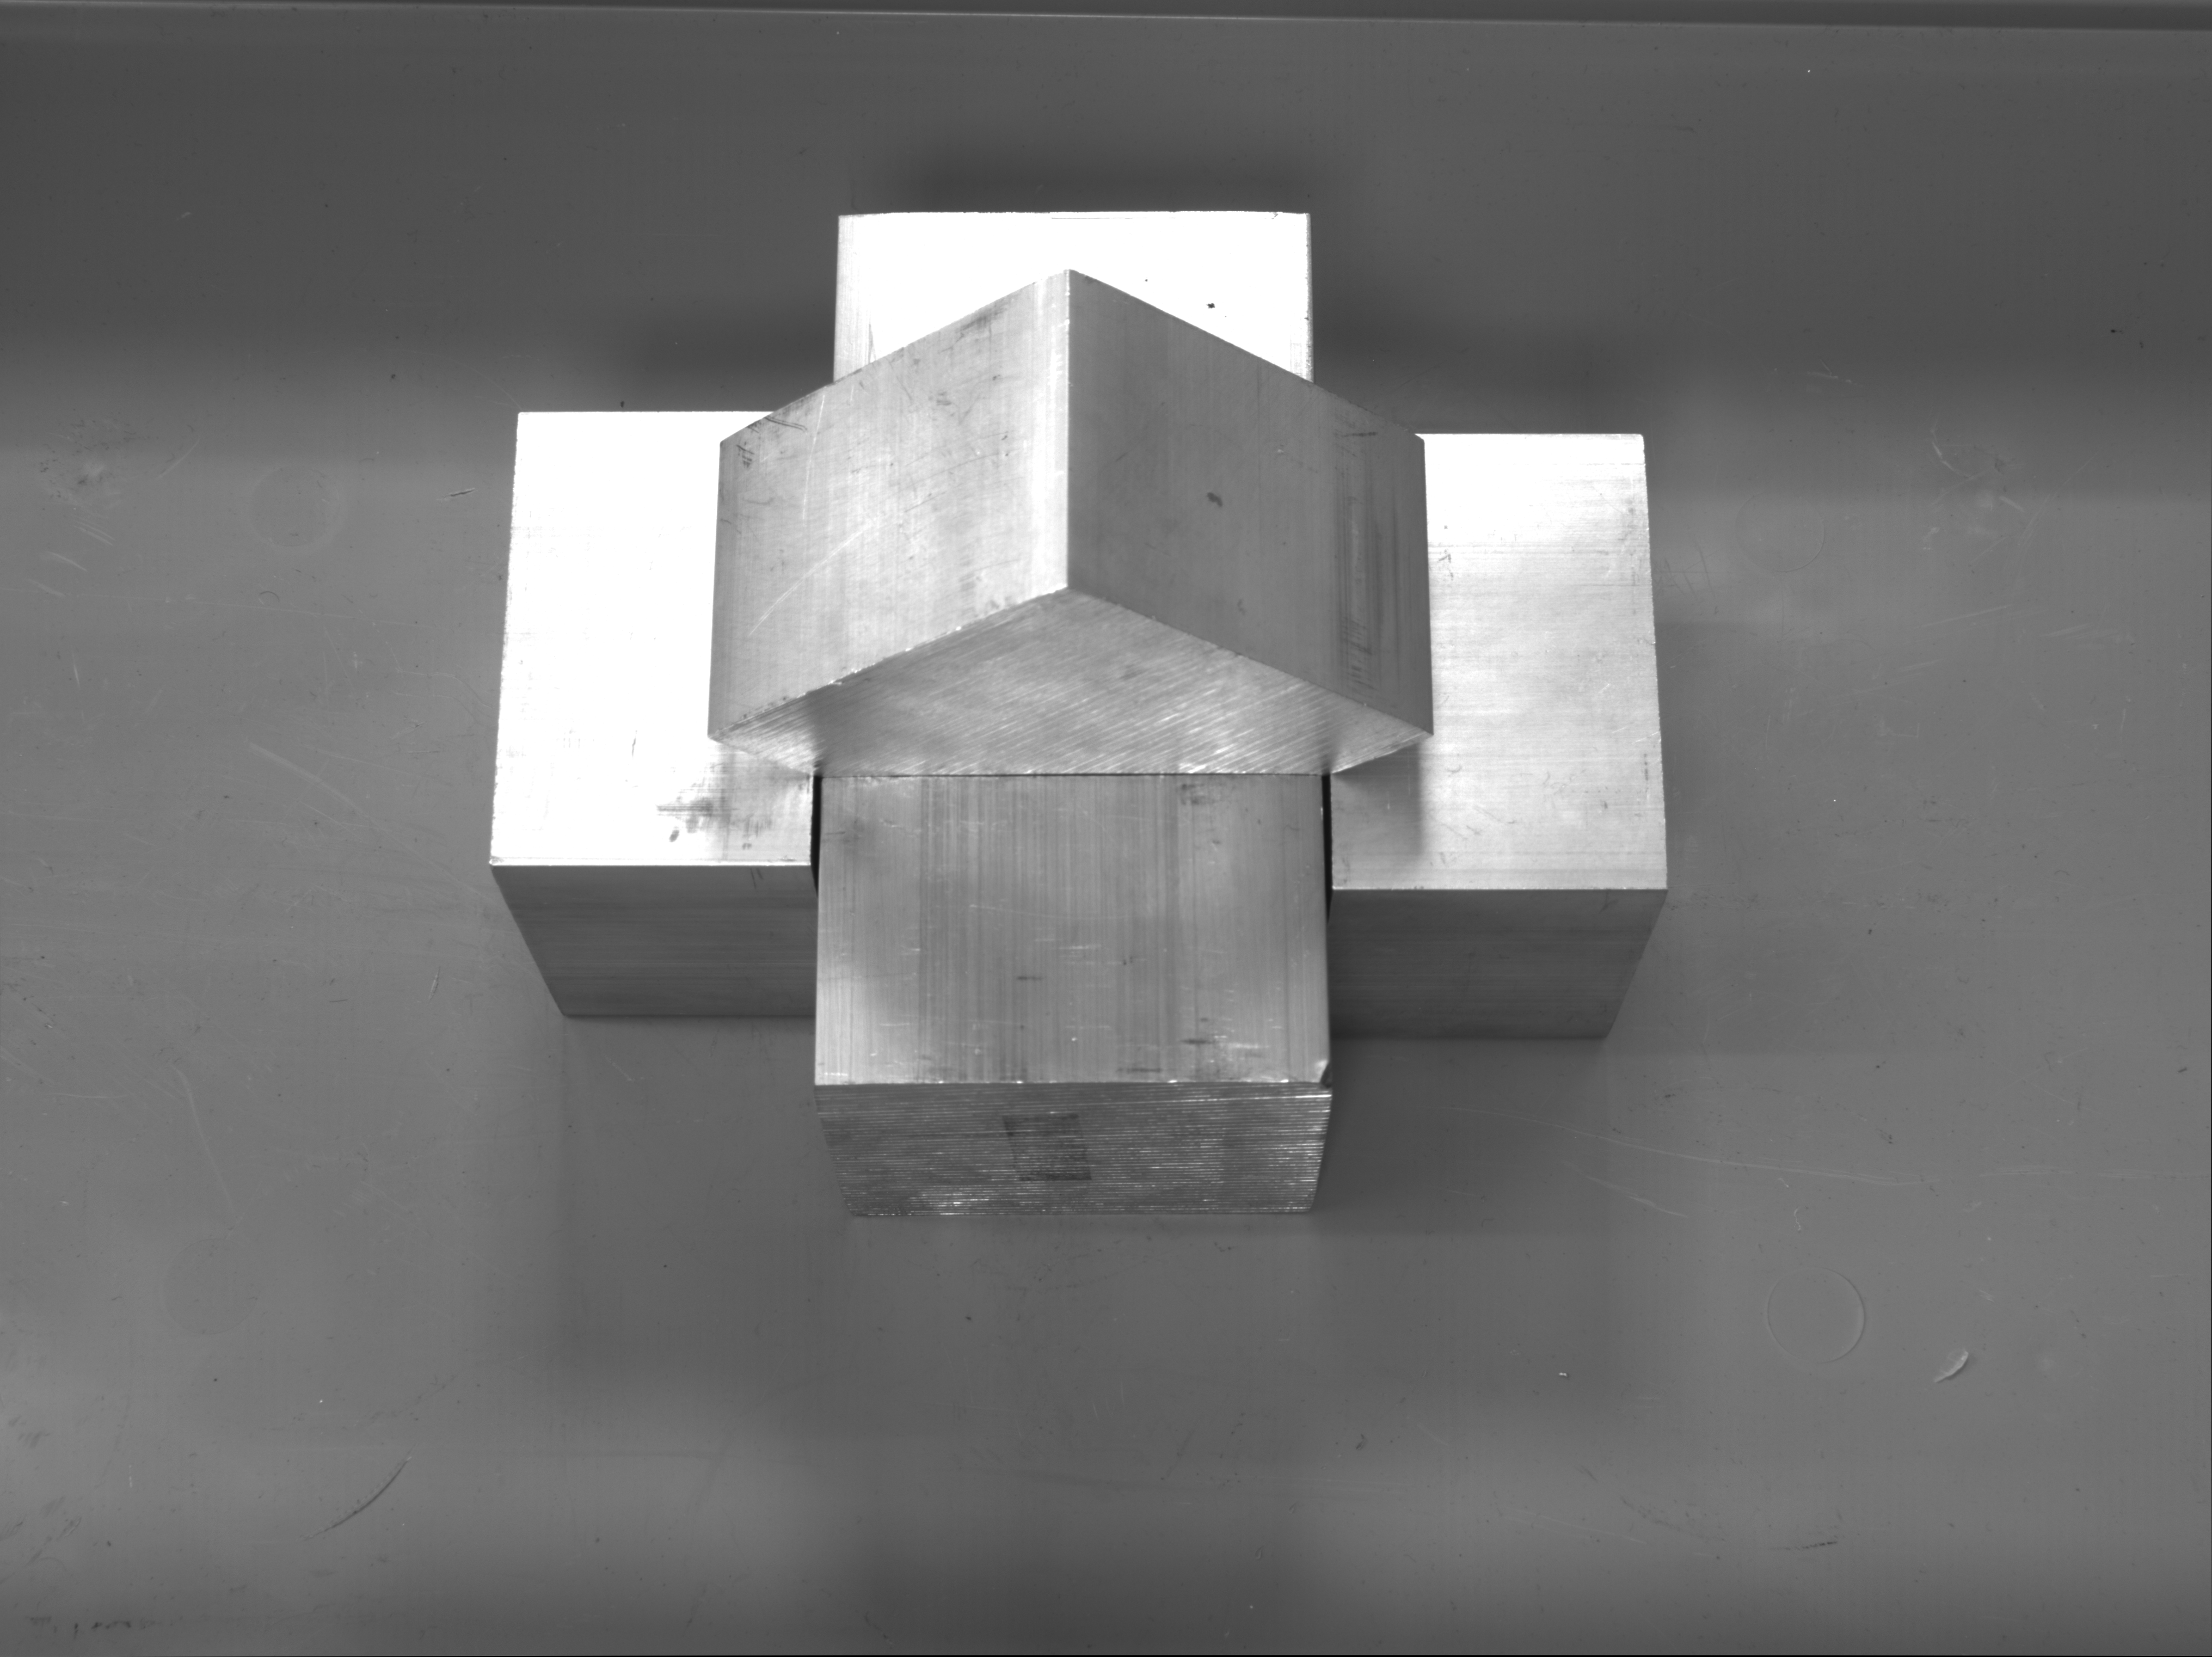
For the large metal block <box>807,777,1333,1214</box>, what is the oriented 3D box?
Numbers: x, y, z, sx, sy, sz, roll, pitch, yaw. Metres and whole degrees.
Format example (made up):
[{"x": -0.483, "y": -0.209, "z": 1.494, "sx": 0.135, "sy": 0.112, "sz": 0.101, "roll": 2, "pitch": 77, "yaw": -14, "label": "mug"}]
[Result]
[{"x": -0.005, "y": 0.029, "z": 0.604, "sx": 0.080, "sy": 0.080, "sz": 0.050, "roll": 0, "pitch": 70, "yaw": 0, "label": "large metal block"}]

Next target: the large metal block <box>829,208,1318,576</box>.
[{"x": -0.005, "y": -0.066, "z": 0.639, "sx": 0.080, "sy": 0.080, "sz": 0.050, "roll": 0, "pitch": 70, "yaw": 0, "label": "large metal block"}]

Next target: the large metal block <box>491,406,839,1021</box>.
[{"x": -0.070, "y": -0.017, "z": 0.622, "sx": 0.050, "sy": 0.080, "sz": 0.080, "roll": 0, "pitch": 70, "yaw": 0, "label": "large metal block"}]

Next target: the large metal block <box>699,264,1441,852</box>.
[{"x": -0.005, "y": -0.037, "z": 0.568, "sx": 0.080, "sy": 0.080, "sz": 0.050, "roll": 19, "pitch": 62, "yaw": -41, "label": "large metal block"}]

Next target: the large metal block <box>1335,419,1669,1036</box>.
[{"x": 0.062, "y": -0.015, "z": 0.618, "sx": 0.050, "sy": 0.080, "sz": 0.080, "roll": 0, "pitch": 70, "yaw": 0, "label": "large metal block"}]
